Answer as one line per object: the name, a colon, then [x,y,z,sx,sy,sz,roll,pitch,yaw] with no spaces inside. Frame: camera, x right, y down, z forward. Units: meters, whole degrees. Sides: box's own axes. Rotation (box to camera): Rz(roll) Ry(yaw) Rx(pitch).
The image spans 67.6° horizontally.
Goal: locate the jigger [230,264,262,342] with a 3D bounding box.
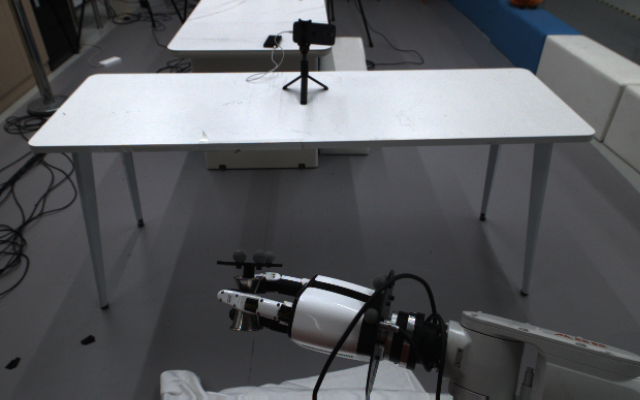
jigger: [-0.096,0.136,0.647,0.043,0.071,0.043,2,-6,0]
